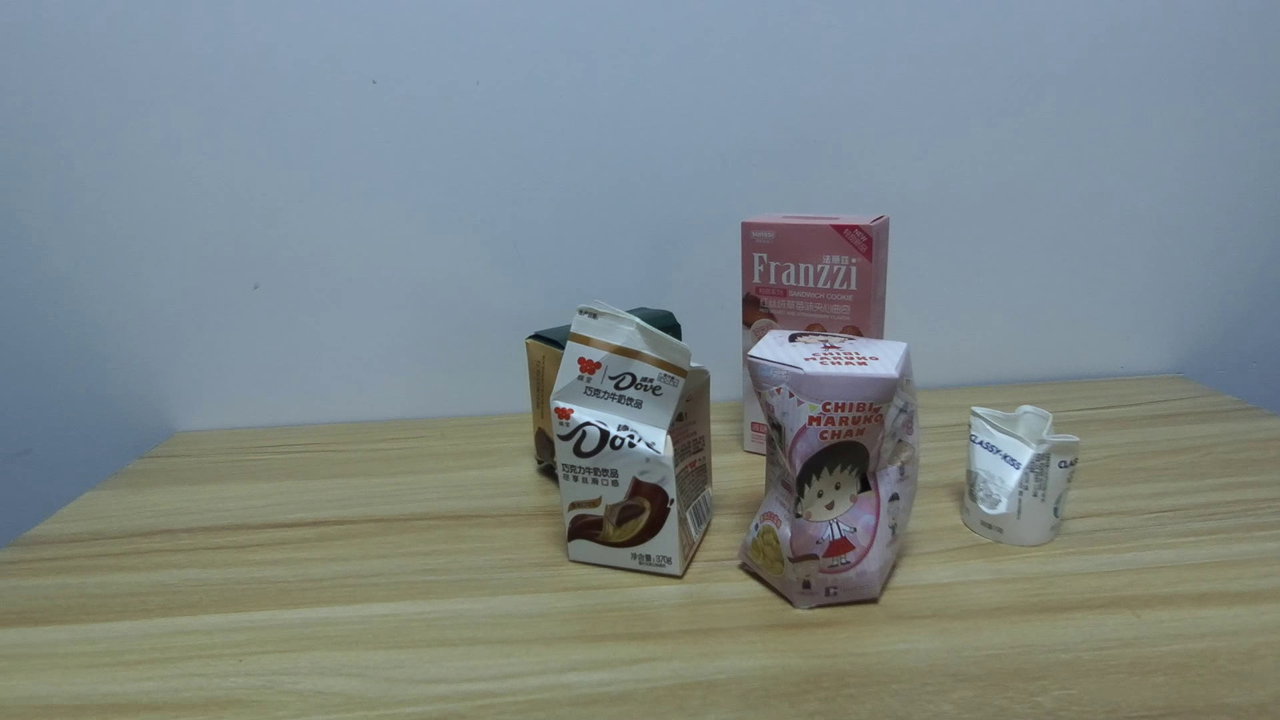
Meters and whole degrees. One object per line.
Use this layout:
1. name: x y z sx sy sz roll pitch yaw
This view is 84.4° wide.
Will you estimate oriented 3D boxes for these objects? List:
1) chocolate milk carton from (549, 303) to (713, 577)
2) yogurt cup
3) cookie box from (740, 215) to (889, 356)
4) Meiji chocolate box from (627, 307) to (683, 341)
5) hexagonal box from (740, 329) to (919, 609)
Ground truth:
1. chocolate milk carton: -0.002 0.040 0.418 0.076 0.155 0.074 5 21 20
2. yogurt cup: 0.233 0.070 0.435 0.055 0.072 0.055 1 18 4
3. cookie box: 0.129 -0.014 0.528 0.096 0.185 0.048 8 23 31
4. Meiji chocolate box: -0.025 0.025 0.550 0.123 0.116 0.058 -13 22 -32
5. hexagonal box: 0.097 0.057 0.387 0.089 0.134 0.093 -15 21 -36
